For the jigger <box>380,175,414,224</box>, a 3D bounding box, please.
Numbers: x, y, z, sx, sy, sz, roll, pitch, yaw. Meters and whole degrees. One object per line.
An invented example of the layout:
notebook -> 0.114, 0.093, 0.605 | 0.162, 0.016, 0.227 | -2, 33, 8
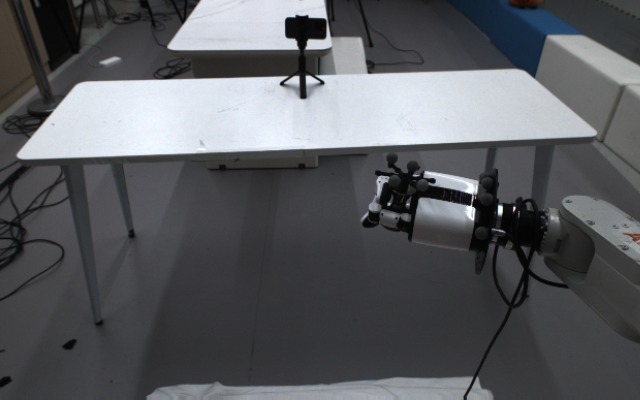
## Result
jigger -> 0.120, 0.009, 0.740 | 0.043, 0.071, 0.043 | 7, 32, -4
